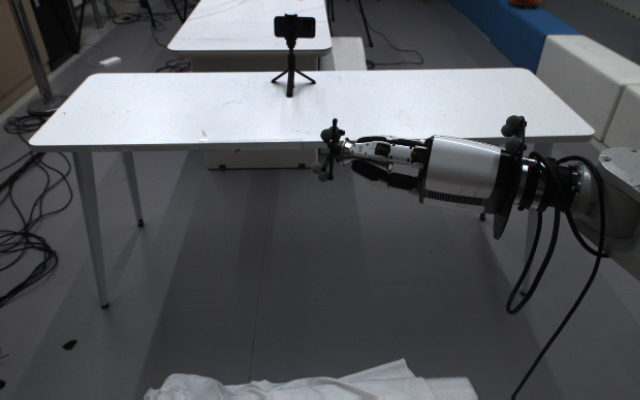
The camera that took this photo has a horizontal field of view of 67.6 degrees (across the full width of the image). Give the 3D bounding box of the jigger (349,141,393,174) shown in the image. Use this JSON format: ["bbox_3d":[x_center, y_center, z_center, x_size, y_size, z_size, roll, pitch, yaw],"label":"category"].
[{"bbox_3d":[0.071,-0.066,0.668,0.071,0.043,0.043,10,35,16],"label":"jigger"}]
